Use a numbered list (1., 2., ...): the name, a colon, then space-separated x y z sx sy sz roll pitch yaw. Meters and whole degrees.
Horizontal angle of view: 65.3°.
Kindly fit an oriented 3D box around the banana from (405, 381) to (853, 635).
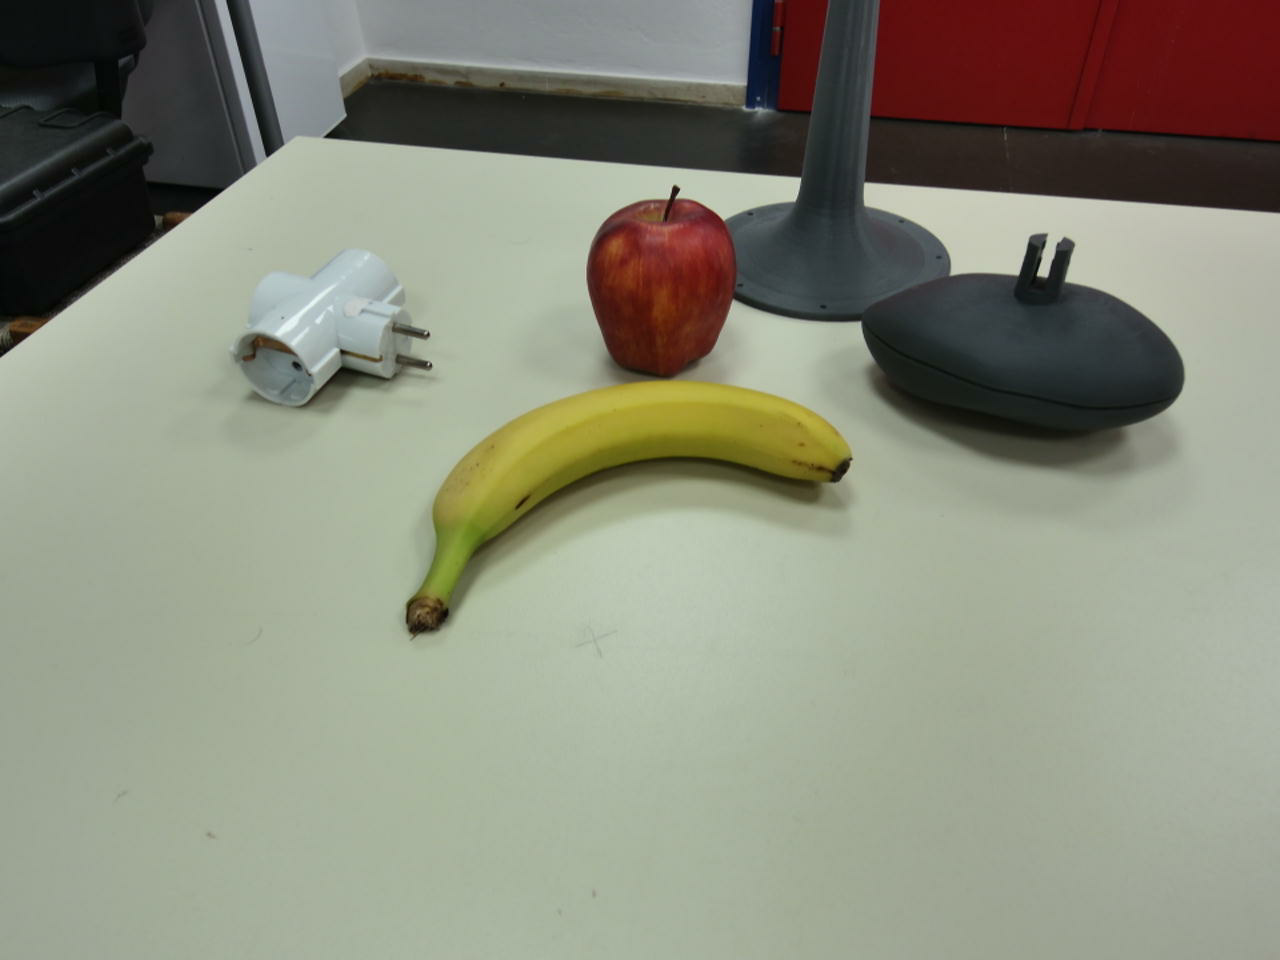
1. banana: -0.014 -0.005 0.430 0.196 0.041 0.094 -14 40 -17
